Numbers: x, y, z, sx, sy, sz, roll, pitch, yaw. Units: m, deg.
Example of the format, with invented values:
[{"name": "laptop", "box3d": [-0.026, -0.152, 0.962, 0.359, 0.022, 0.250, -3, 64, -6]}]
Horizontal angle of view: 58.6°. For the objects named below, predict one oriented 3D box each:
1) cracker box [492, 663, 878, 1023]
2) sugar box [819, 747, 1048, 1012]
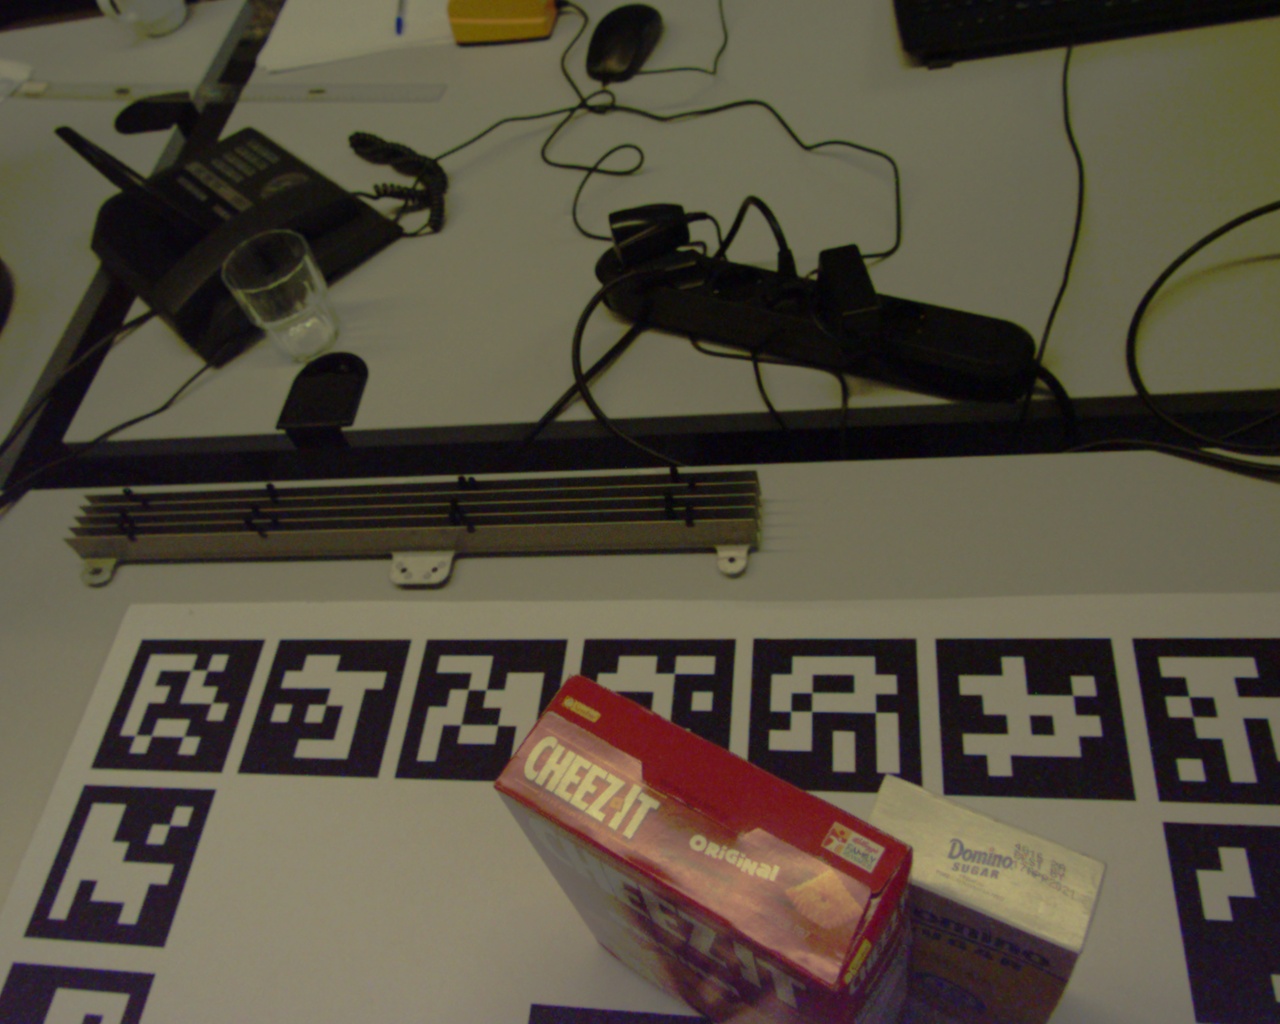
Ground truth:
[{"name": "cracker box", "box3d": [0.029, 0.188, 0.562, 0.166, 0.212, 0.071, 26, 61, 28]}, {"name": "sugar box", "box3d": [0.142, 0.184, 0.556, 0.094, 0.175, 0.045, 17, 60, 25]}]
